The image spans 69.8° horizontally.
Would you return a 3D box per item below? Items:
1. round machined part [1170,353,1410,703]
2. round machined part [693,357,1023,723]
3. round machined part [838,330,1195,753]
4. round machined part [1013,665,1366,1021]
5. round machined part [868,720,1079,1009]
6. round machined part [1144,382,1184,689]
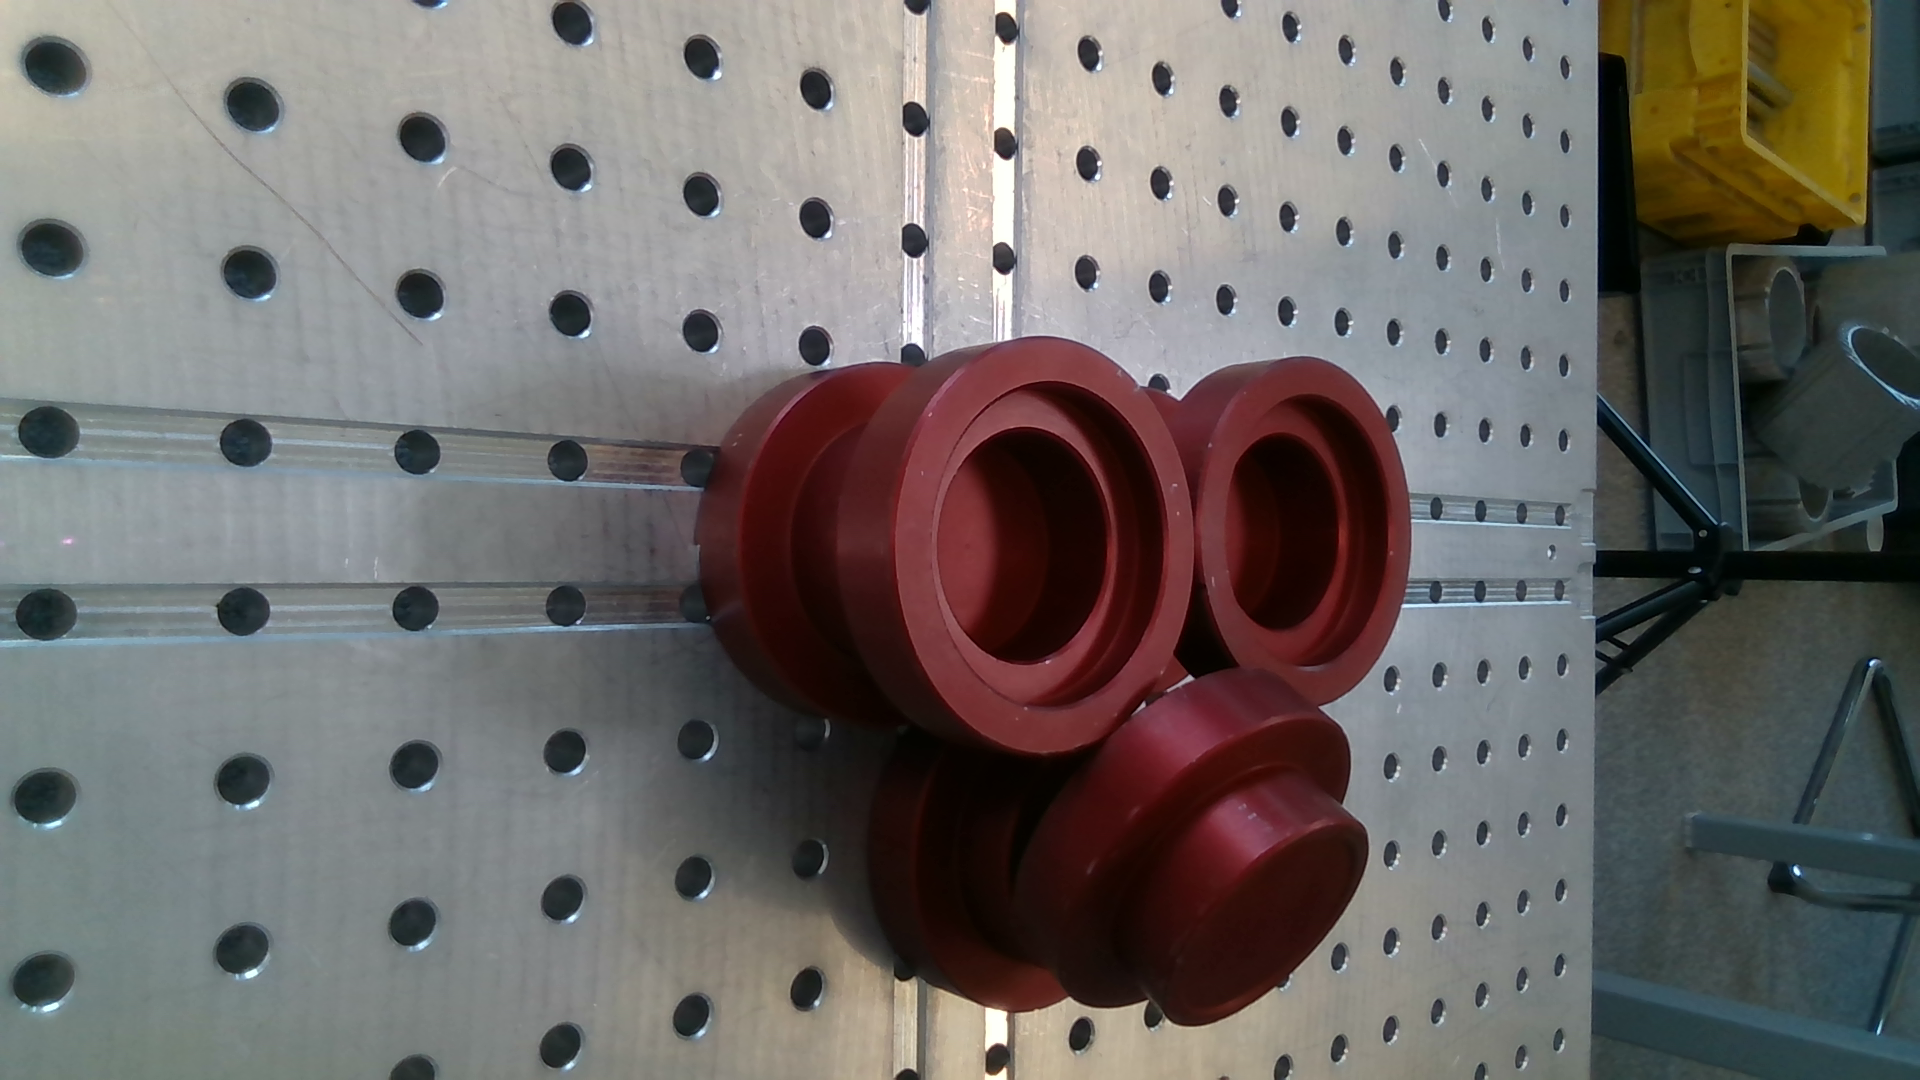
[{"bbox_3d":[0.085,-0.003,0.399,0.098,0.042,0.098,0,90,-40],"label":"round machined part"},{"bbox_3d":[-0.018,0.000,0.368,0.098,0.042,0.098,0,90,-40],"label":"round machined part"},{"bbox_3d":[0.010,0.000,0.335,0.098,0.042,0.098,0,90,-40],"label":"round machined part"},{"bbox_3d":[0.065,0.084,0.355,0.098,0.042,0.098,-23,135,-25],"label":"round machined part"},{"bbox_3d":[0.024,0.088,0.404,0.098,0.042,0.098,0,90,-40],"label":"round machined part"},{"bbox_3d":[0.057,-0.001,0.432,0.098,0.042,0.098,0,90,-40],"label":"round machined part"}]
